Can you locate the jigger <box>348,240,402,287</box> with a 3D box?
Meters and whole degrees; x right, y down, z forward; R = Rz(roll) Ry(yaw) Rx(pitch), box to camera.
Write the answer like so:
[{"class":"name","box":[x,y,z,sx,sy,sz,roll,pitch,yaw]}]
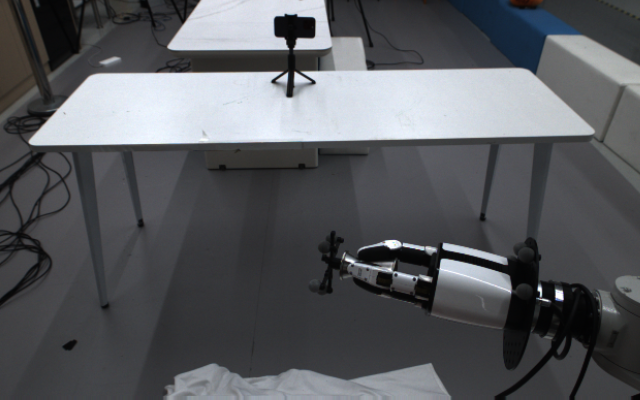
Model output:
[{"class":"jigger","box":[0.070,0.086,0.624,0.071,0.043,0.043,8,35,16]}]
